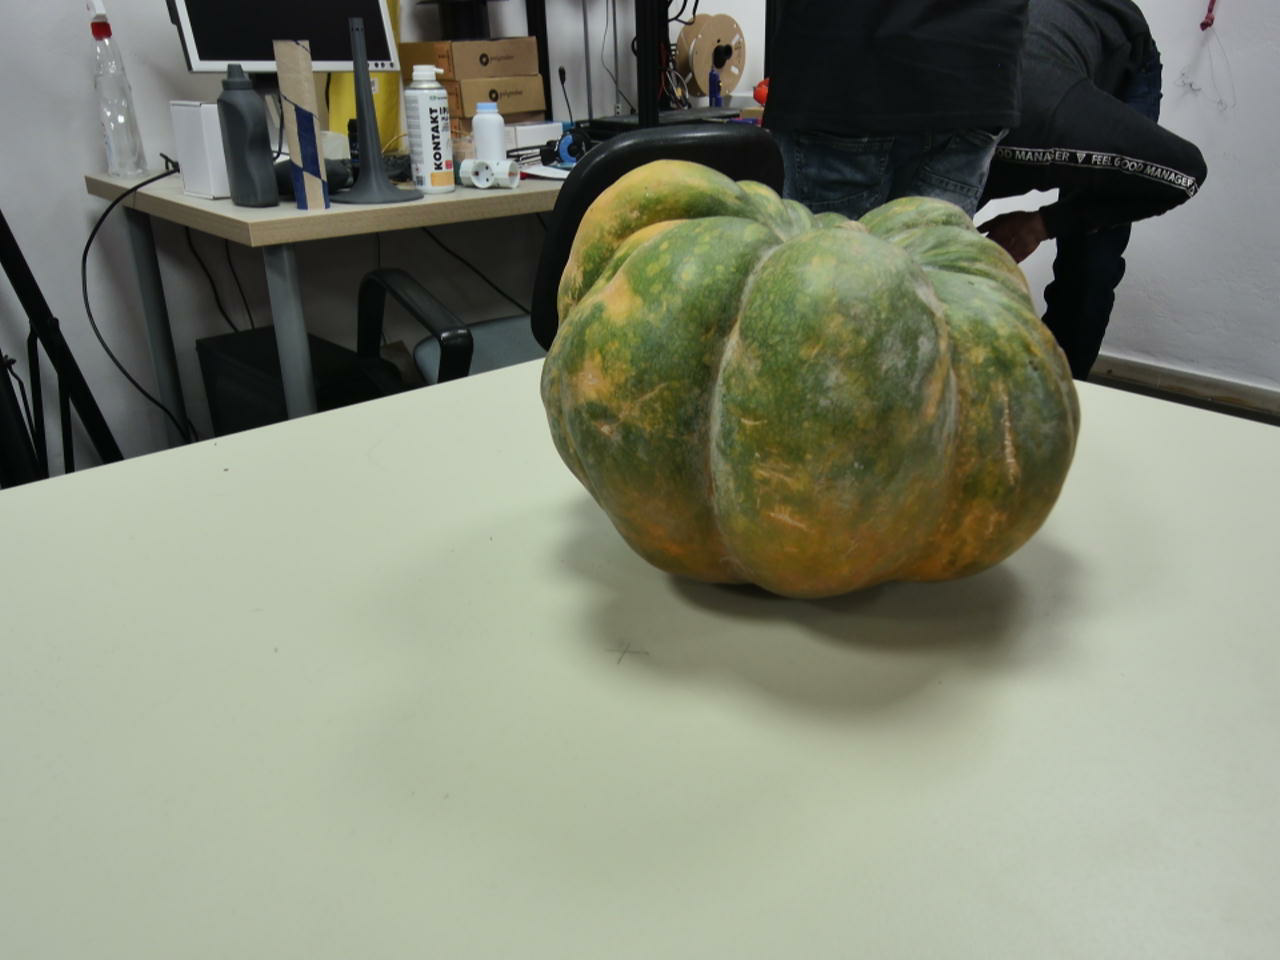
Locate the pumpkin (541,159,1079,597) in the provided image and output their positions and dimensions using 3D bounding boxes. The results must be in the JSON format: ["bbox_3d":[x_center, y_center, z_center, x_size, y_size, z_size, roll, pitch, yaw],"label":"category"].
[{"bbox_3d":[0.076,-0.051,0.461,0.237,0.173,0.270,-1,22,-1],"label":"pumpkin"}]
